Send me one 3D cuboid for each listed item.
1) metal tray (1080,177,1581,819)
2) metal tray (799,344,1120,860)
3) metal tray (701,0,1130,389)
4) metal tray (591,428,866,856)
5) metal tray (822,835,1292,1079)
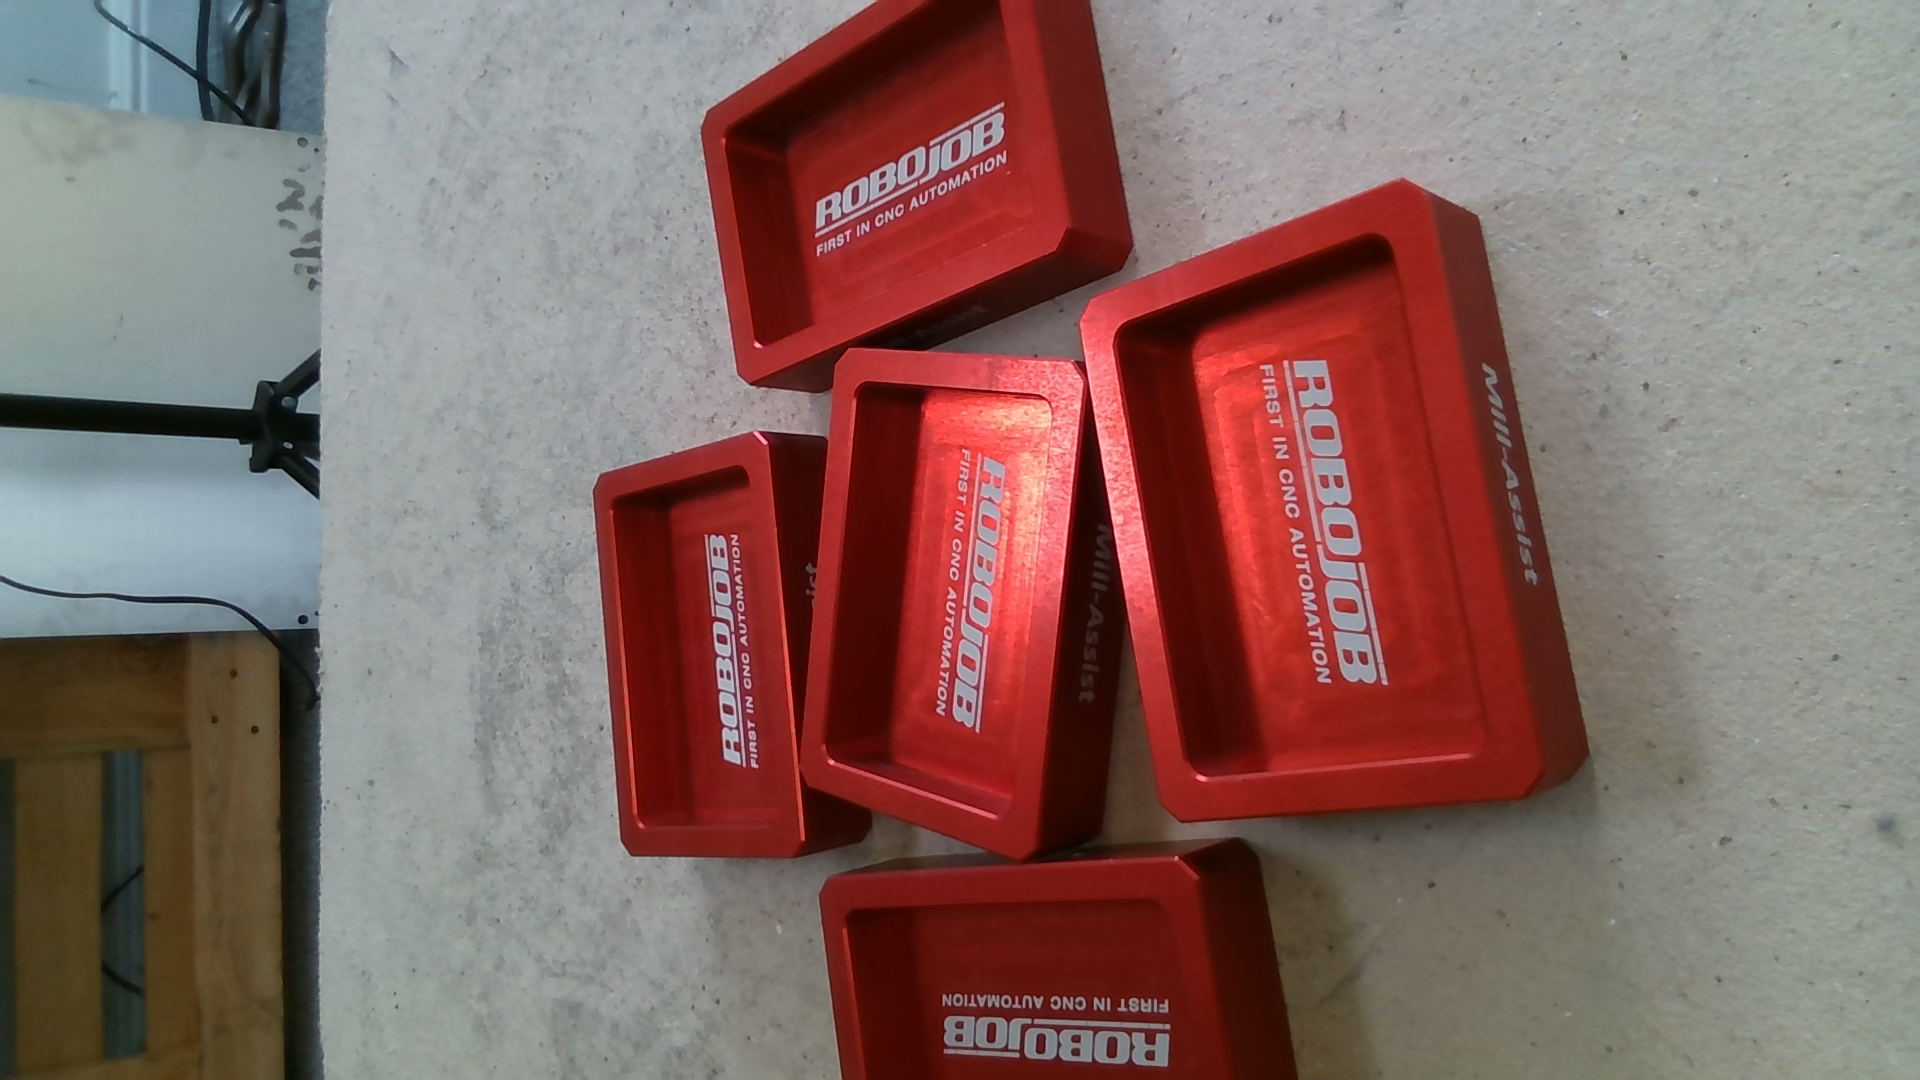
[{"bbox_3d":[0.081,-0.005,0.319,0.090,0.030,0.130,-14,81,39],"label":"metal tray"},{"bbox_3d":[0.001,0.013,0.387,0.090,0.030,0.130,10,97,42],"label":"metal tray"},{"bbox_3d":[-0.019,-0.105,0.402,0.130,0.030,0.090,-15,80,39],"label":"metal tray"},{"bbox_3d":[-0.078,0.035,0.453,0.090,0.030,0.130,-10,84,40],"label":"metal tray"},{"bbox_3d":[0.022,0.130,0.371,0.130,0.030,0.090,-14,80,40],"label":"metal tray"}]
